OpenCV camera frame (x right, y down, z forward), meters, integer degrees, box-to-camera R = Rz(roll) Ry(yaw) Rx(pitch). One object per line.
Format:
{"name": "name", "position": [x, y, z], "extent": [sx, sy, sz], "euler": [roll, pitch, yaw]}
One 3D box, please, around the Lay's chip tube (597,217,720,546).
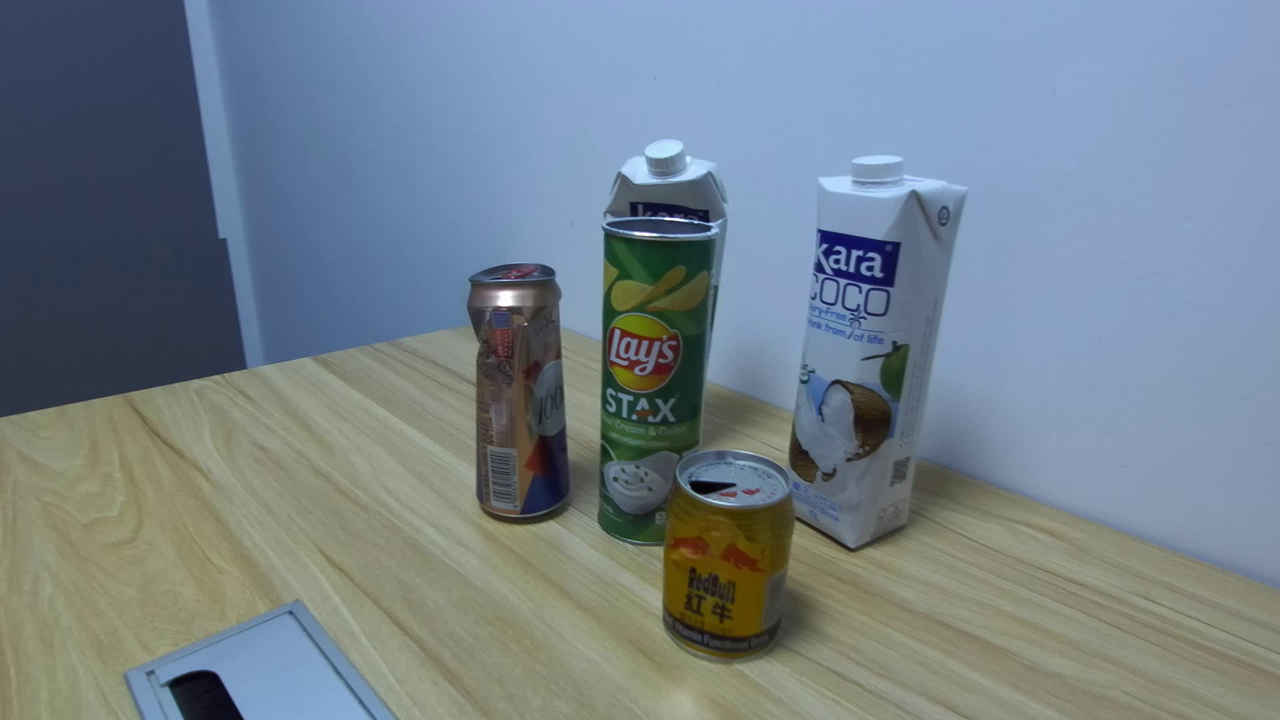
{"name": "Lay's chip tube", "position": [0.009, 0.013, 0.454], "extent": [0.071, 0.202, 0.071], "euler": [2, 21, 0]}

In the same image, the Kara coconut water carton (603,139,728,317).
{"name": "Kara coconut water carton", "position": [0.018, -0.049, 0.568], "extent": [0.099, 0.244, 0.071], "euler": [5, 19, 9]}

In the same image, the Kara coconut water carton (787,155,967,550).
{"name": "Kara coconut water carton", "position": [0.147, -0.005, 0.460], "extent": [0.076, 0.245, 0.076], "euler": [-11, 23, -36]}

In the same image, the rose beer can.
{"name": "rose beer can", "position": [-0.083, 0.023, 0.481], "extent": [0.065, 0.167, 0.076], "euler": [8, 22, 24]}
